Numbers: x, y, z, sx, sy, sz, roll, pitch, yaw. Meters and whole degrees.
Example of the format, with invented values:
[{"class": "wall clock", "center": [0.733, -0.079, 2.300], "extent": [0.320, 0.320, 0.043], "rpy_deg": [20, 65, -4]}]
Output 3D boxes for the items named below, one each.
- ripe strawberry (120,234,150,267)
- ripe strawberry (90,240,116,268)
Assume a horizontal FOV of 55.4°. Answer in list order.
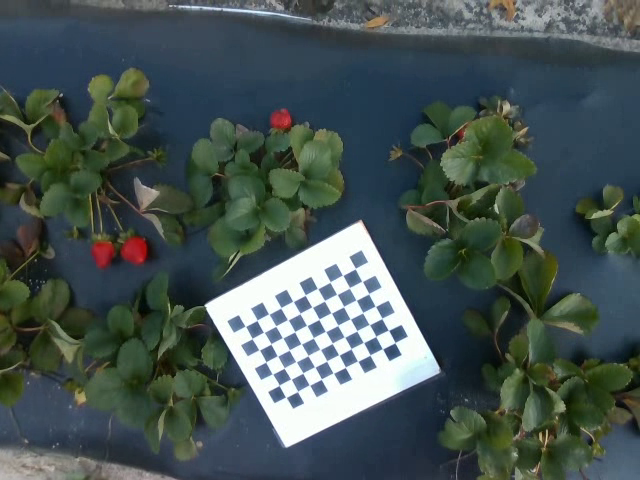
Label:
[{"class": "ripe strawberry", "center": [-0.352, 0.026, 1.131], "extent": [0.064, 0.058, 0.051], "rpy_deg": [46, 8, 31]}, {"class": "ripe strawberry", "center": [-0.413, 0.031, 1.143], "extent": [0.048, 0.056, 0.041], "rpy_deg": [-13, -17, 6]}]
